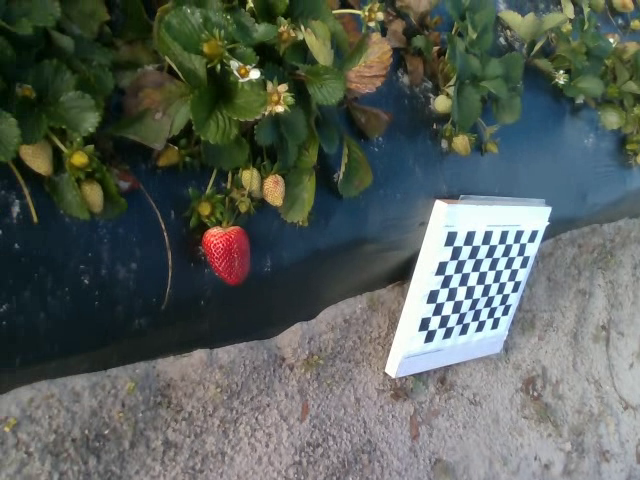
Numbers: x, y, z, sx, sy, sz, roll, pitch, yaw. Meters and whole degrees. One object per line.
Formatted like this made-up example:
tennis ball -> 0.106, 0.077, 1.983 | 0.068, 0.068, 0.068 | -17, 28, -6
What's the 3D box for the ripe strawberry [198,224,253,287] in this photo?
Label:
ripe strawberry -> -0.100, 0.015, 0.658 | 0.053, 0.068, 0.045 | -7, -17, -40
